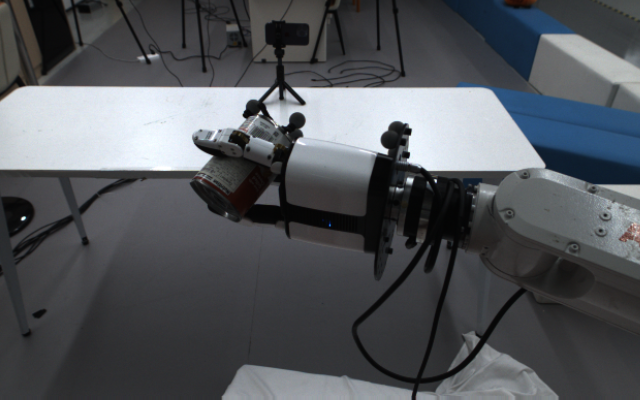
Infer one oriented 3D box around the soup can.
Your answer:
[{"bbox_3d":[-0.081,-0.036,0.527,0.067,0.067,0.101,25,66,30],"label":"soup can"}]
